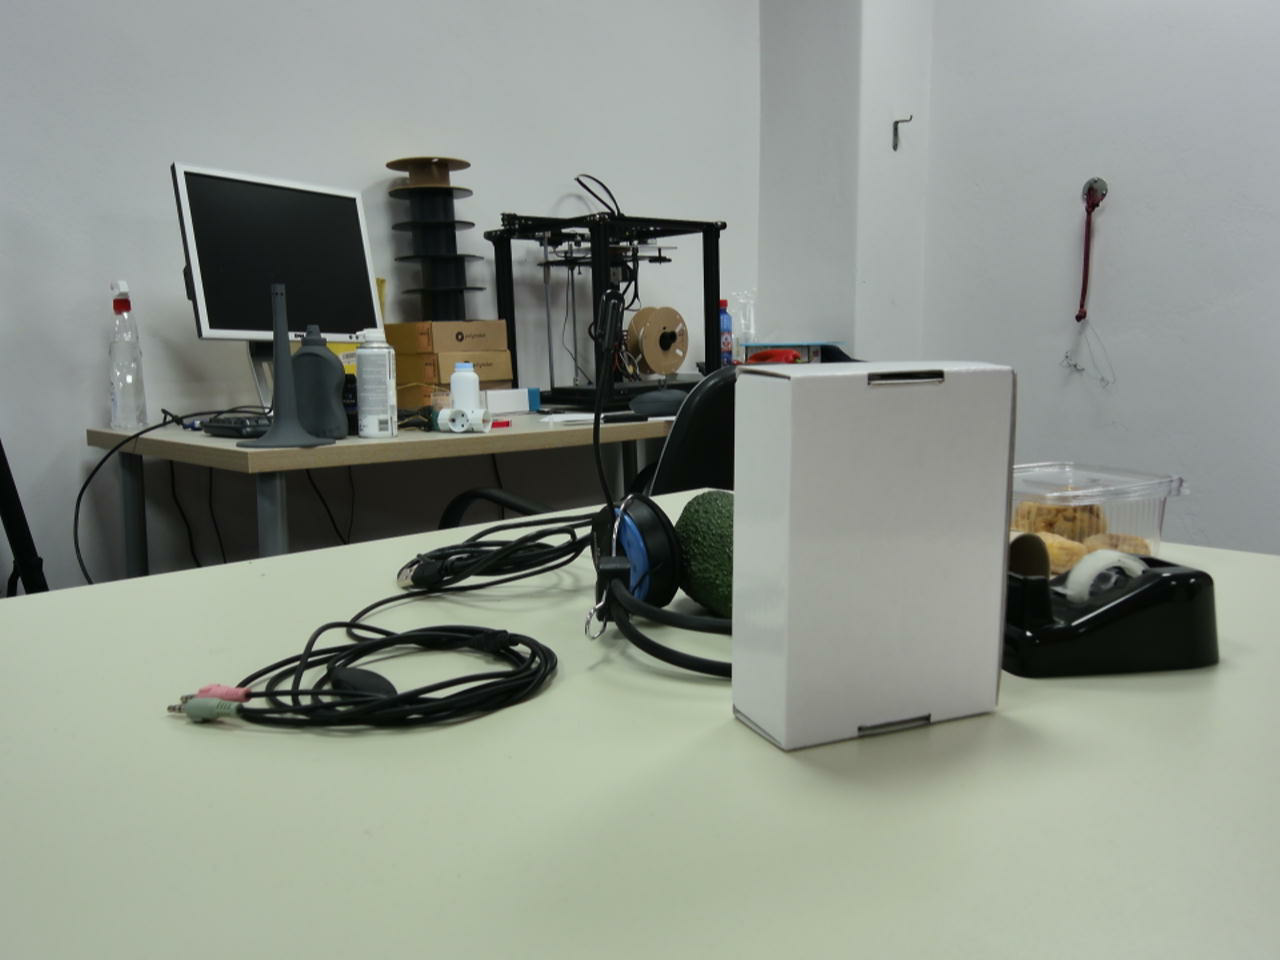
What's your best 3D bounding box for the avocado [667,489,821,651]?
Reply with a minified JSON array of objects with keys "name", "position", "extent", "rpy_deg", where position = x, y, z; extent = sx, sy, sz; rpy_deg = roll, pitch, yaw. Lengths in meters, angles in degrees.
[{"name":"avocado","position":[0.060,0.044,0.538],"extent":[0.063,0.067,0.141],"rpy_deg":[-2,6,-27]}]
